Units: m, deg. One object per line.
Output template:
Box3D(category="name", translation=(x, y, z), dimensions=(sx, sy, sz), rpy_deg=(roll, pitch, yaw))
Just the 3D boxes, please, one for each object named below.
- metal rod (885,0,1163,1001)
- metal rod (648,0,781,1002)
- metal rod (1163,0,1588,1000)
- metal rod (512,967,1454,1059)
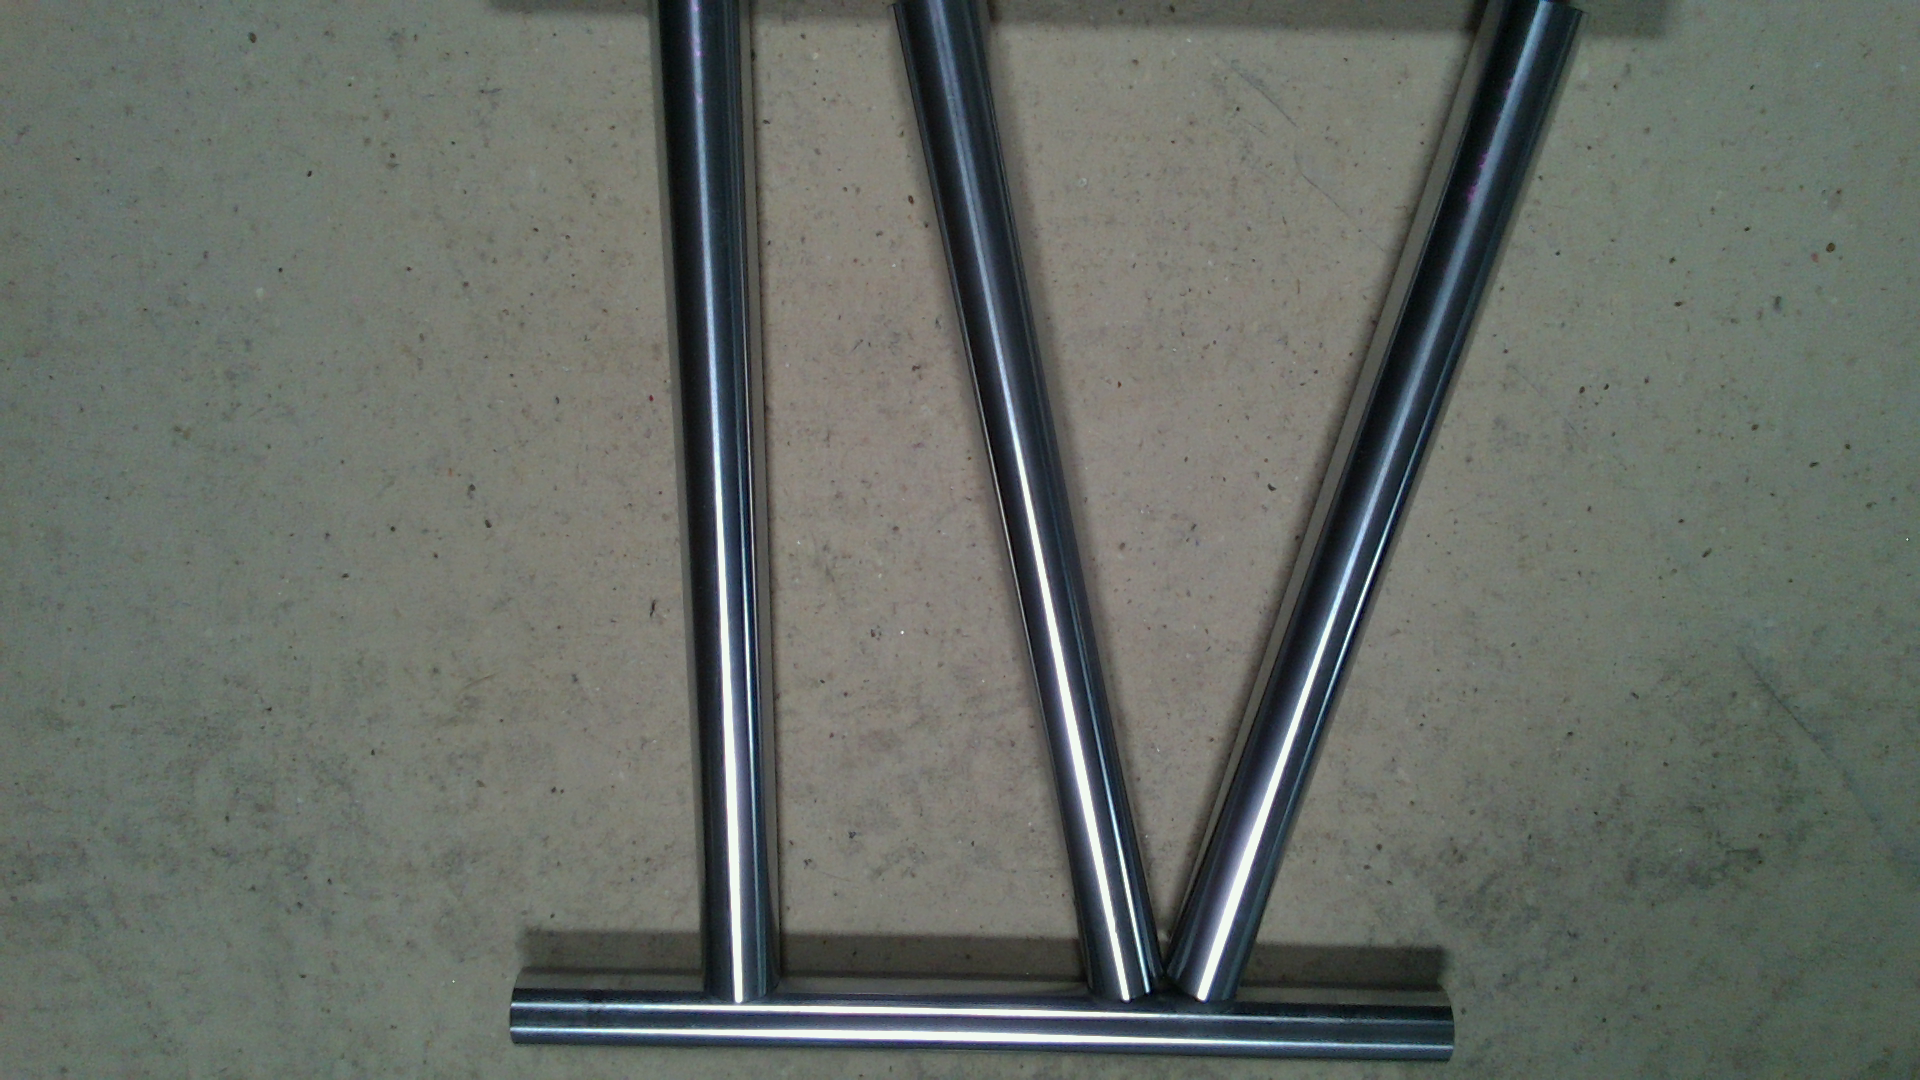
Box3D(category="metal rod", translation=(0.023, 0.003, 0.394), dimensions=(0.025, 0.025, 0.300), rpy_deg=(-11, 110, 4))
Box3D(category="metal rod", translation=(-0.067, 0.000, 0.393), dimensions=(0.025, 0.025, 0.300), rpy_deg=(1, 110, 0))
Box3D(category="metal rod", translation=(0.111, 0.003, 0.395), dimensions=(0.025, 0.025, 0.300), rpy_deg=(12, 110, -4))
Box3D(category="metal rod", translation=(0.008, 0.155, 0.450), dimensions=(0.300, 0.025, 0.025), rpy_deg=(1, 110, -1))
